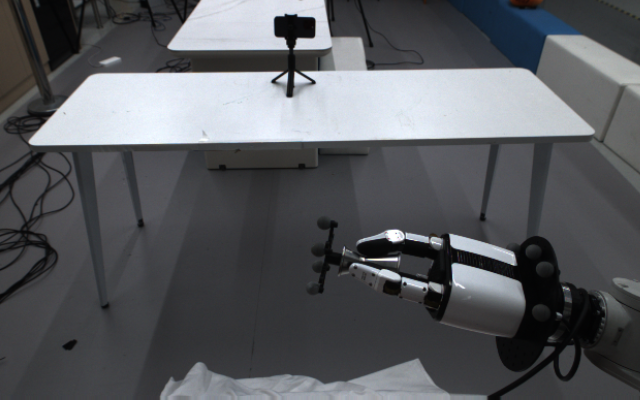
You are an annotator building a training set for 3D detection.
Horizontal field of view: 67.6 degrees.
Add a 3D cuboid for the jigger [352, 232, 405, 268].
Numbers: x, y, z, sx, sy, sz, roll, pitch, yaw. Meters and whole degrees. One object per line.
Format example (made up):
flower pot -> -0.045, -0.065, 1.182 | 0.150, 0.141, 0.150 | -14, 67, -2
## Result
jigger -> 0.065, 0.076, 0.580 | 0.071, 0.043, 0.043 | 11, 35, 3
